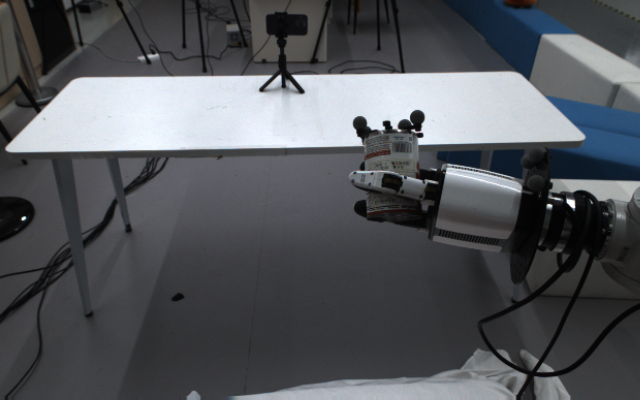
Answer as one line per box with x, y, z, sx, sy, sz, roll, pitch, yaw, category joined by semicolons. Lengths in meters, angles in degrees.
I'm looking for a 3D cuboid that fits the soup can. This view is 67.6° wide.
0.089;-0.027;0.586;0.067;0.101;0.067;-1;-9;0;soup can
